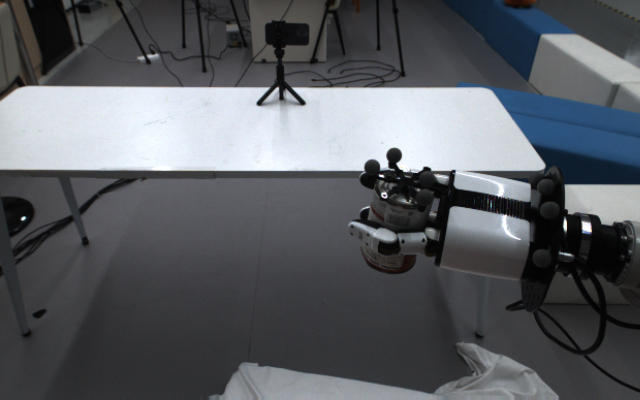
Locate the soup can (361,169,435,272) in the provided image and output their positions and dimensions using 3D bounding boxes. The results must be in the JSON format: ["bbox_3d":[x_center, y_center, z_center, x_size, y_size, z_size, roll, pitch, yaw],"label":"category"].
[{"bbox_3d":[0.090,0.026,0.560,0.067,0.101,0.067,5,37,-4],"label":"soup can"}]
